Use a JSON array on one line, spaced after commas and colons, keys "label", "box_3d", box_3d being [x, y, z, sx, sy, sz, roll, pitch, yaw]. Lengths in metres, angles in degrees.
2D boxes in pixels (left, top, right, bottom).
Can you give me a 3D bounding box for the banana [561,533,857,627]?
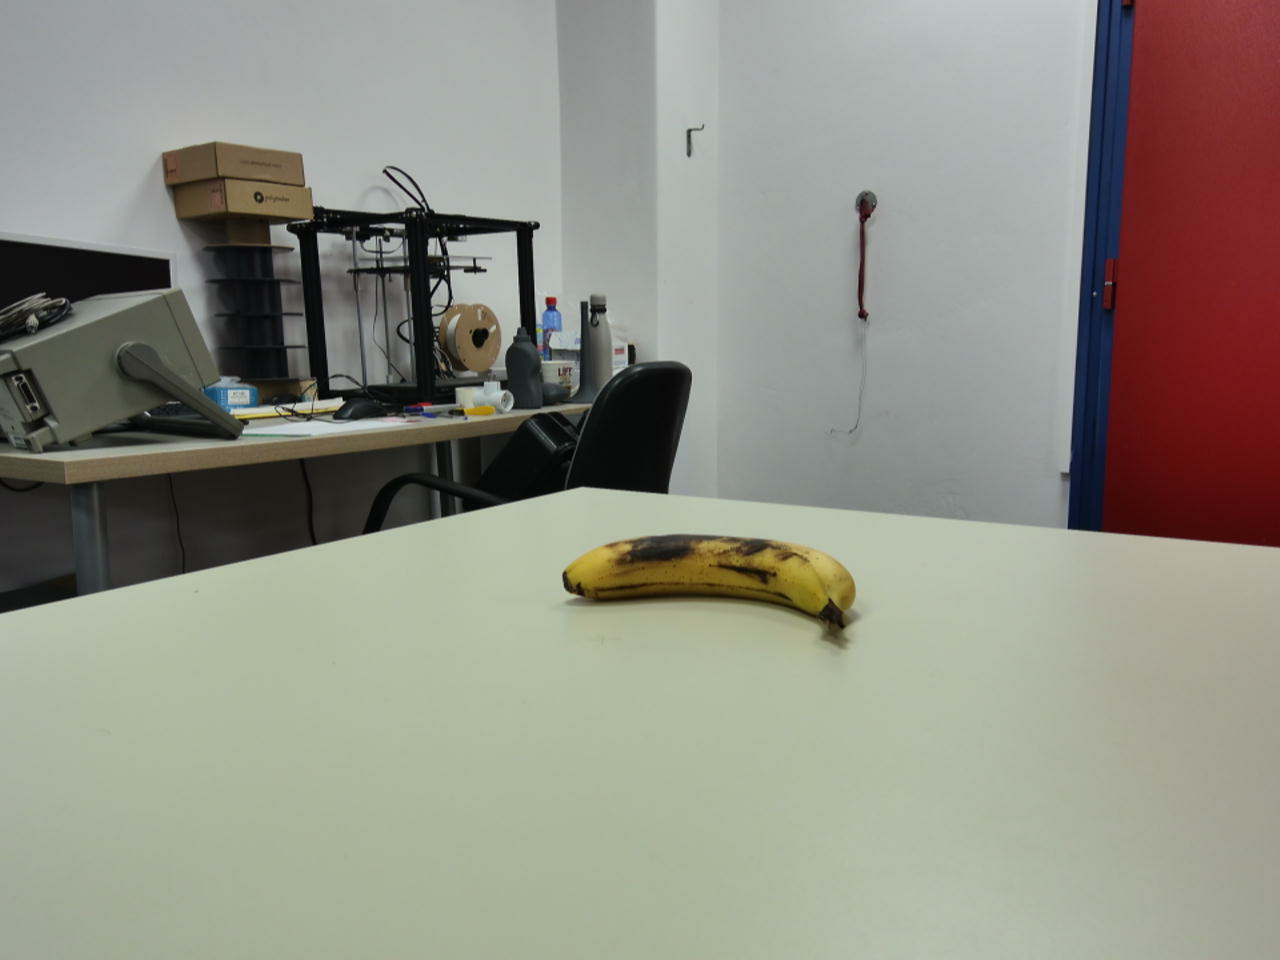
[{"label": "banana", "box_3d": [0.050, 0.058, 0.611, 0.187, 0.039, 0.094, 4, 7, 33]}]
